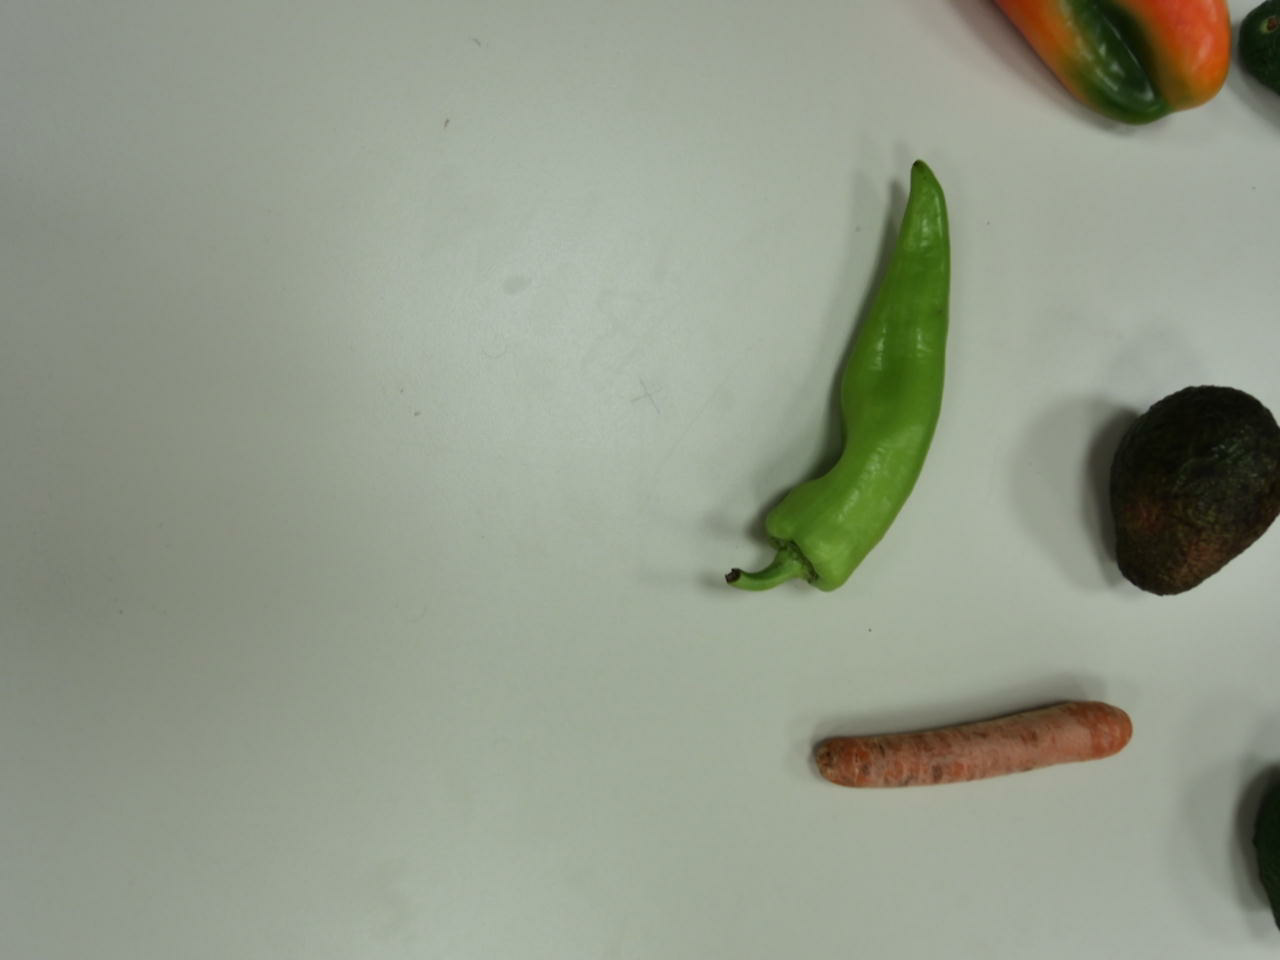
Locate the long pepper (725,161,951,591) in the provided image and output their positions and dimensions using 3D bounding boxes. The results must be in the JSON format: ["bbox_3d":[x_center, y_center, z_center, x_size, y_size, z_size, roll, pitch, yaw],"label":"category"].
[{"bbox_3d":[0.104,-0.034,0.438,0.065,0.045,0.204,27,85,-11],"label":"long pepper"}]
